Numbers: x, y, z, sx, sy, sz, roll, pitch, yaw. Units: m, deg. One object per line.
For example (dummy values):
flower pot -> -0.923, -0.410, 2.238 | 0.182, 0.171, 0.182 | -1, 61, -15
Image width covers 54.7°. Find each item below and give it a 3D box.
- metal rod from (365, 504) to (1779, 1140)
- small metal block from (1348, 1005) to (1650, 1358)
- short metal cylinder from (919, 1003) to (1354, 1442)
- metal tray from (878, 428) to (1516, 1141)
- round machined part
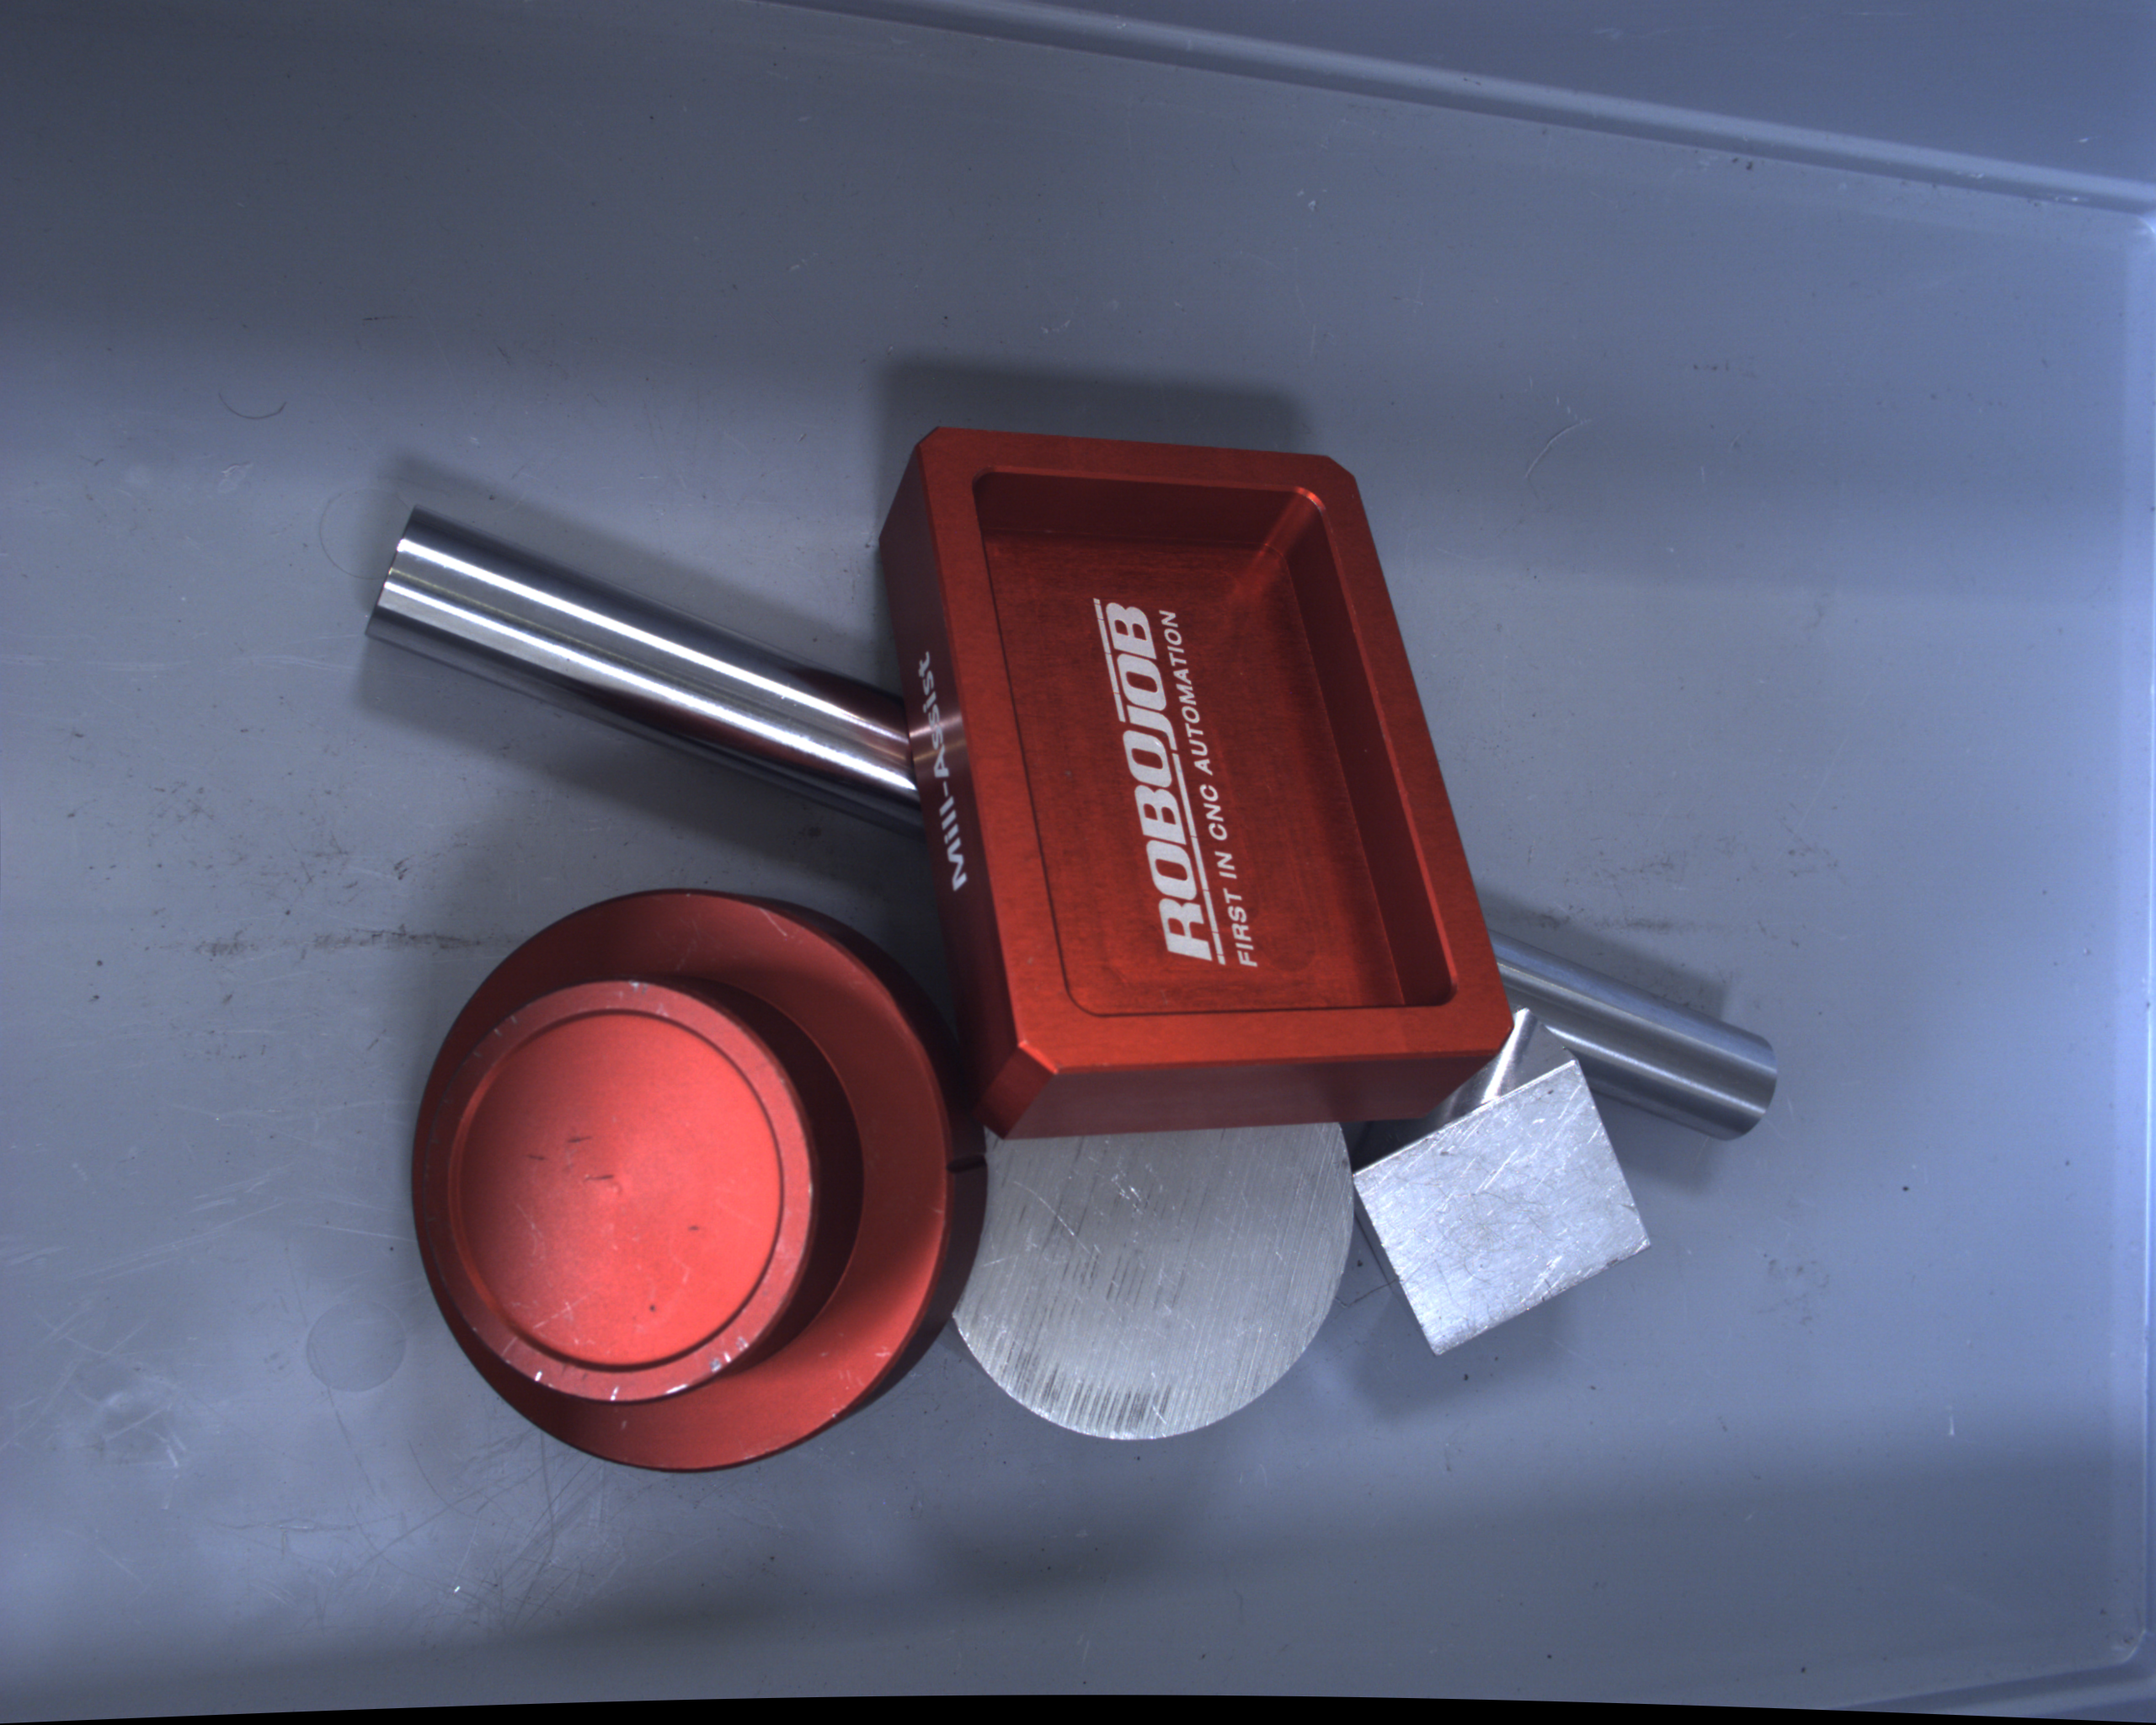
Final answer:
metal rod -> 0.013, -0.001, 0.414 | 0.302, 0.025, 0.025 | 21, 83, -19
small metal block -> 0.082, 0.065, 0.428 | 0.050, 0.025, 0.050 | -27, 116, -2
short metal cylinder -> 0.005, 0.064, 0.397 | 0.081, 0.050, 0.079 | 0, 90, -20
metal tray -> 0.018, -0.017, 0.382 | 0.091, 0.030, 0.130 | 0, 61, -21
round machined part -> -0.068, 0.053, 0.350 | 0.098, 0.042, 0.097 | -1, 85, 12
